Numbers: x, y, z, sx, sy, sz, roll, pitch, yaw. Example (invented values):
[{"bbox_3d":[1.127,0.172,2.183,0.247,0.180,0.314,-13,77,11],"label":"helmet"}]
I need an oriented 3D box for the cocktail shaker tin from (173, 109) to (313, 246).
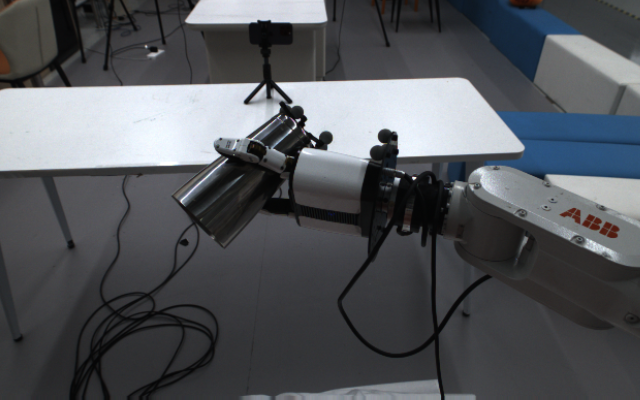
[{"bbox_3d":[-0.091,-0.034,0.613,0.170,0.093,0.093,-43,50,-14],"label":"cocktail shaker tin"}]
